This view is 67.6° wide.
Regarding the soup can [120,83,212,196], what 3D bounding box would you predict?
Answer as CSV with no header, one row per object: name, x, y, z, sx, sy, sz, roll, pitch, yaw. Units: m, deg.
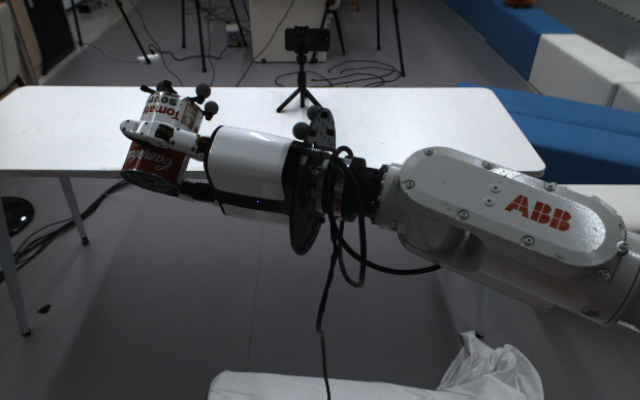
soup can,-0.182,-0.064,0.566,0.067,0.067,0.101,9,72,10
